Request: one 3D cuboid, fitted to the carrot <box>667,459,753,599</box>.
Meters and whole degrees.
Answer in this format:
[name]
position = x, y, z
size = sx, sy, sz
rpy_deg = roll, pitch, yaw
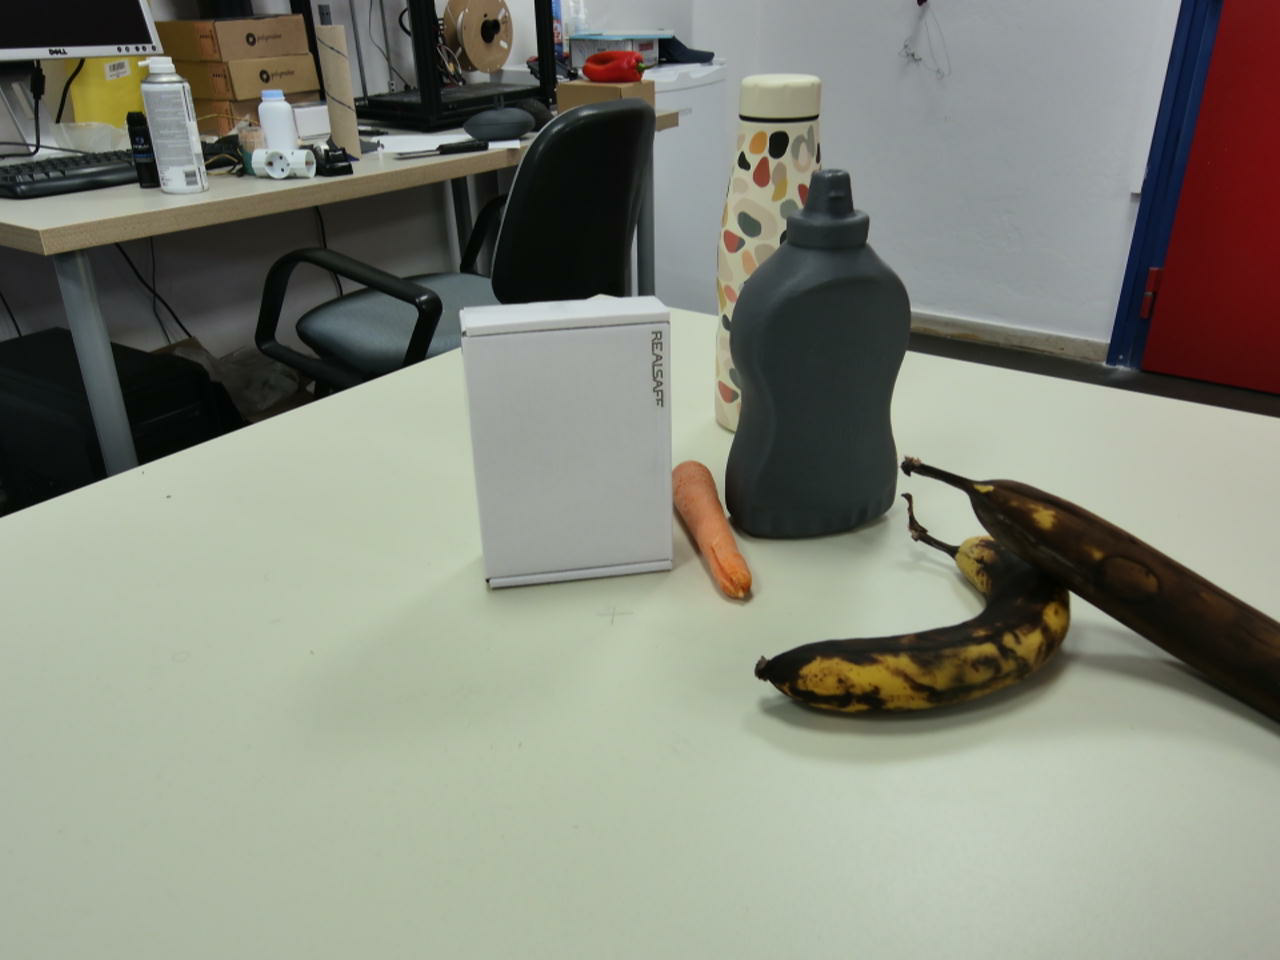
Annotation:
[carrot]
position = 0.039, 0.024, 0.578
size = 0.030, 0.032, 0.136
rpy_deg = -4, 24, -8
